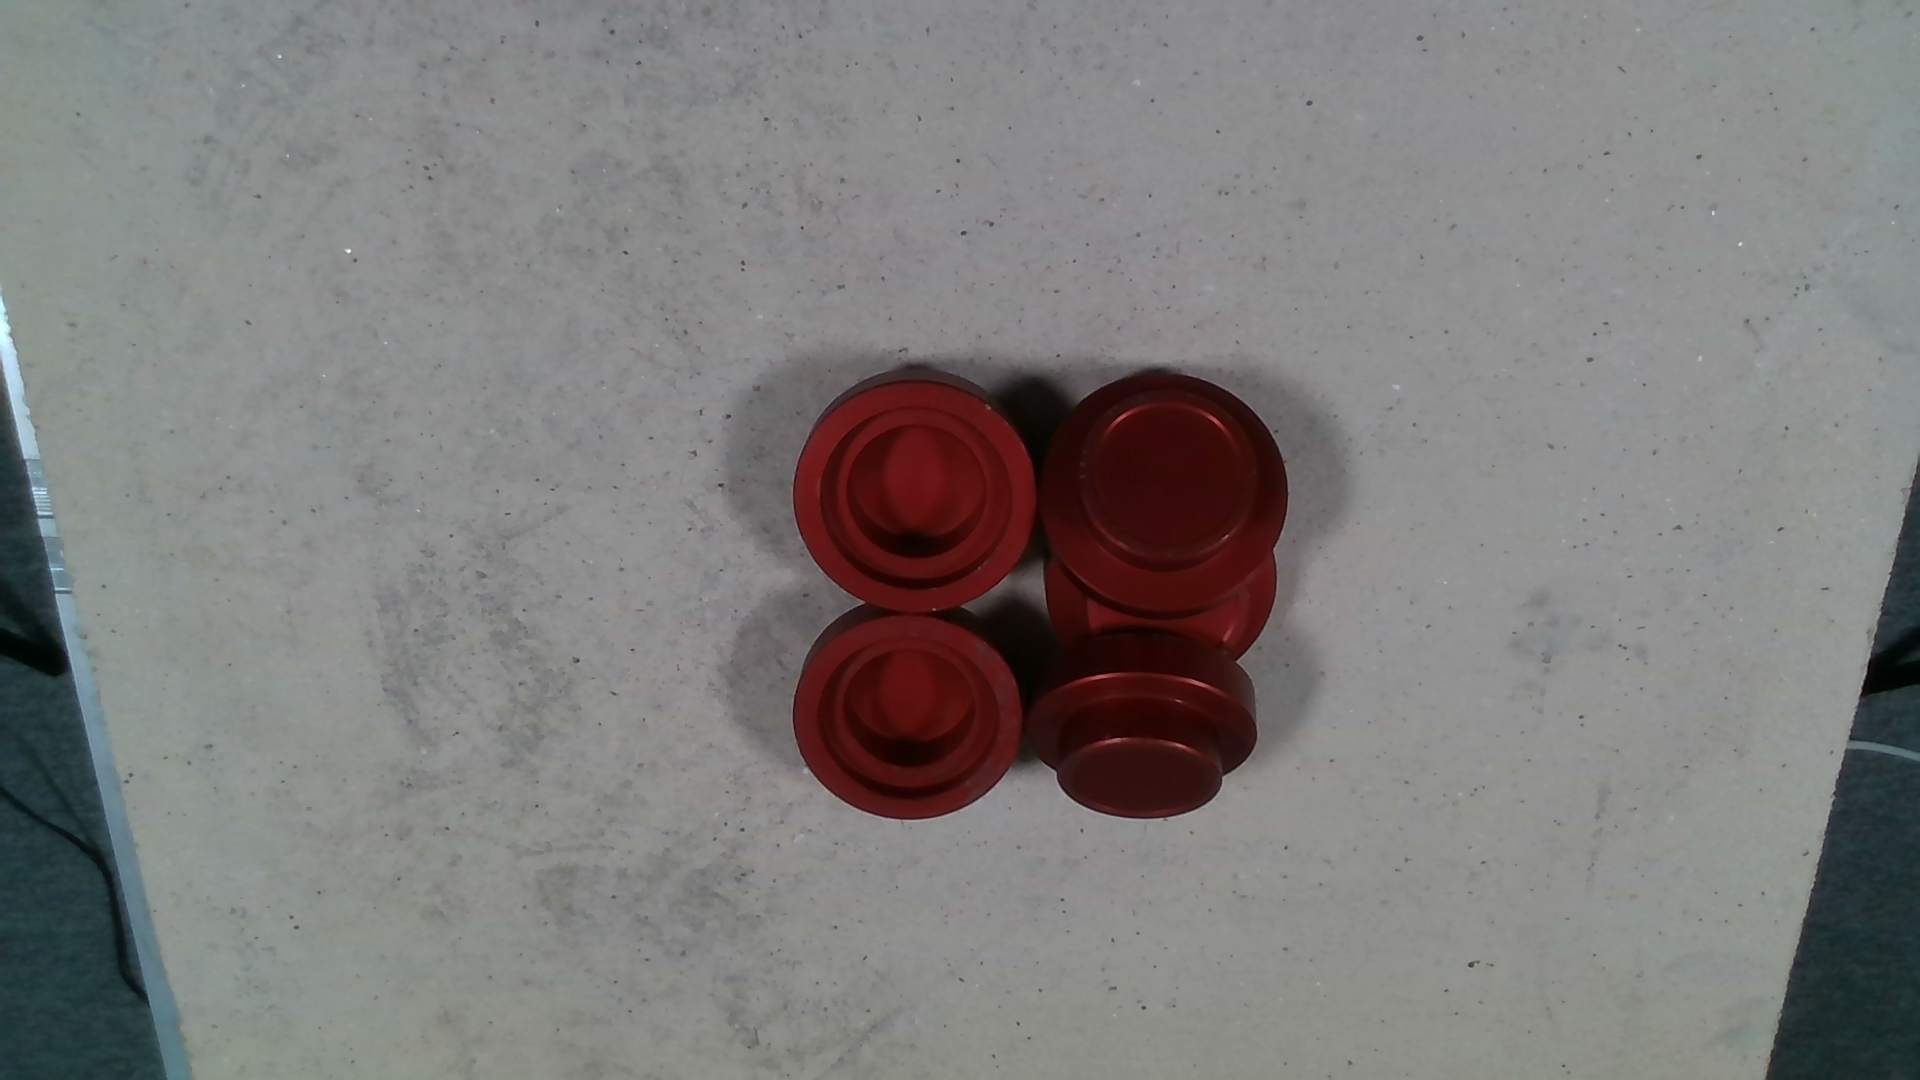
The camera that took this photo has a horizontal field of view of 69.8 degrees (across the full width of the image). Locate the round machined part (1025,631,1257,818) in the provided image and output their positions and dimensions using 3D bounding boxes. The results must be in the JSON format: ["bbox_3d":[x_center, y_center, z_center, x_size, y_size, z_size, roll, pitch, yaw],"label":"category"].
[{"bbox_3d":[0.076,0.084,0.583,0.098,0.042,0.098,4,141,3],"label":"round machined part"}]

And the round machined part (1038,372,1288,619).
[{"bbox_3d":[0.080,-0.020,0.543,0.098,0.042,0.098,-1,77,3],"label":"round machined part"}]

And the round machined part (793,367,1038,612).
[{"bbox_3d":[-0.018,-0.023,0.567,0.098,0.042,0.098,0,110,0],"label":"round machined part"}]

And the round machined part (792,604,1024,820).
[{"bbox_3d":[-0.022,0.069,0.601,0.098,0.042,0.098,0,110,0],"label":"round machined part"}]

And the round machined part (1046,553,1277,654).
[{"bbox_3d":[0.085,0.020,0.582,0.098,0.042,0.098,0,110,0],"label":"round machined part"}]
